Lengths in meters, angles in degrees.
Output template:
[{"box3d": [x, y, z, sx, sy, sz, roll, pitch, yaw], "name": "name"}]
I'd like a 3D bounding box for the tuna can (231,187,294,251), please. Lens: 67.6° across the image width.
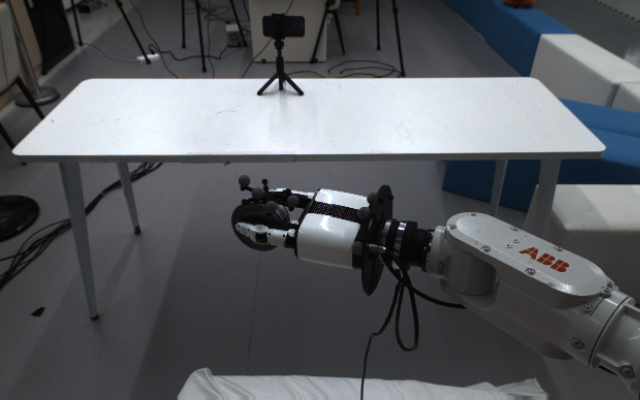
[{"box3d": [-0.089, 0.035, 0.742, 0.085, 0.085, 0.034, 13, 30, 15], "name": "tuna can"}]
